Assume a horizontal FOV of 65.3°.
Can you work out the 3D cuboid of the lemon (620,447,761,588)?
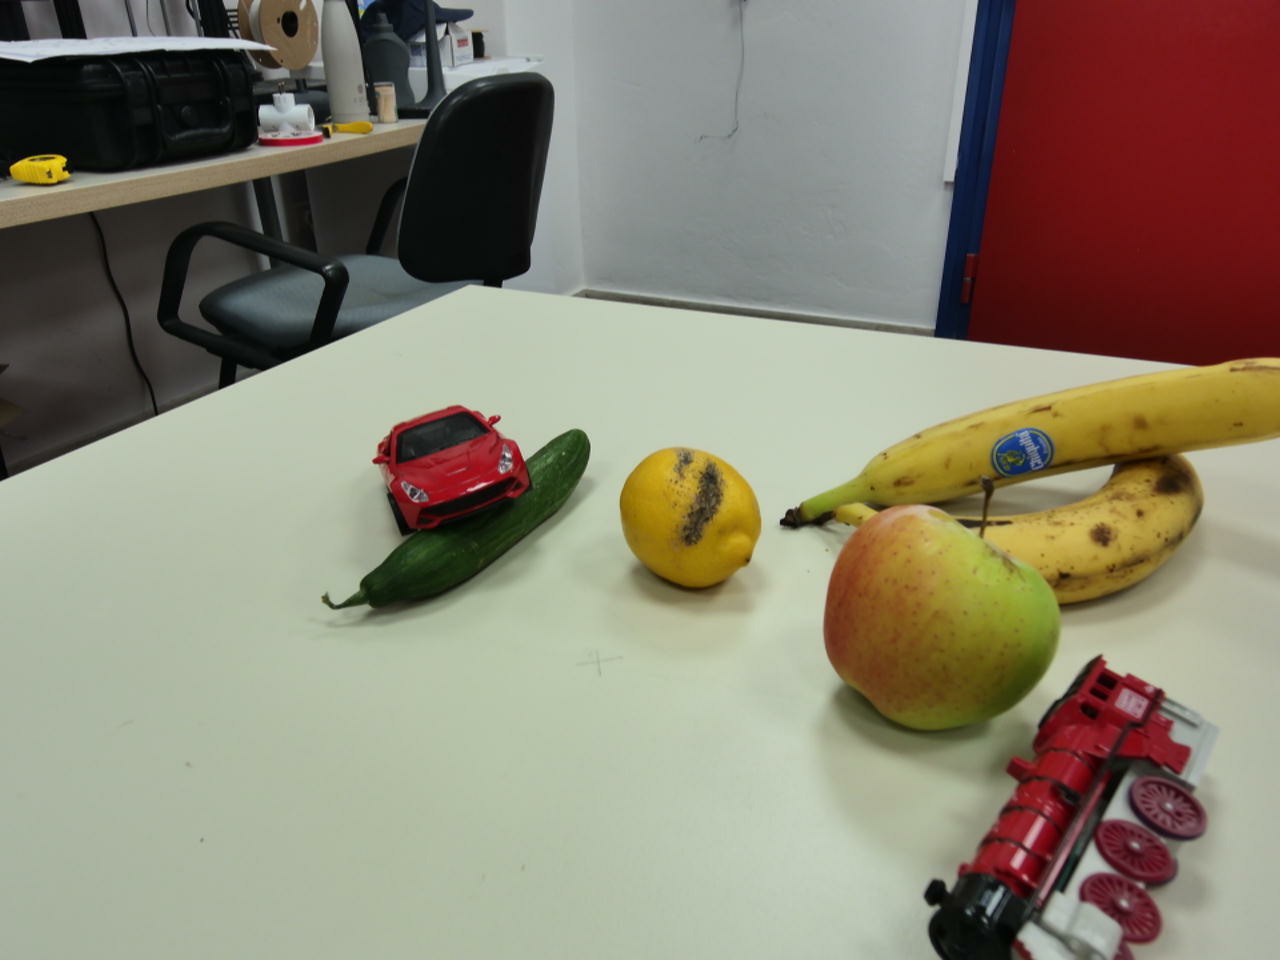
[{"bbox_3d":[0.021,0.016,0.424,0.061,0.056,0.058,8,25,17],"label":"lemon"}]
